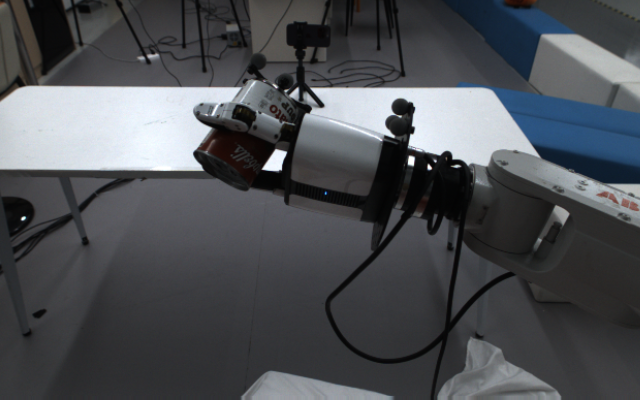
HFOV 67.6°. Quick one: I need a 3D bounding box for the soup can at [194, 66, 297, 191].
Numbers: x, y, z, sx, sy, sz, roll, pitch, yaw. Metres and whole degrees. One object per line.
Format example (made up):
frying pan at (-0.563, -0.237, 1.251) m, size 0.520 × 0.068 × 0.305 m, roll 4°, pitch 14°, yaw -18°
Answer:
soup can at (-0.075, -0.069, 0.510) m, size 0.067 × 0.067 × 0.101 m, roll 23°, pitch 71°, yaw 27°
